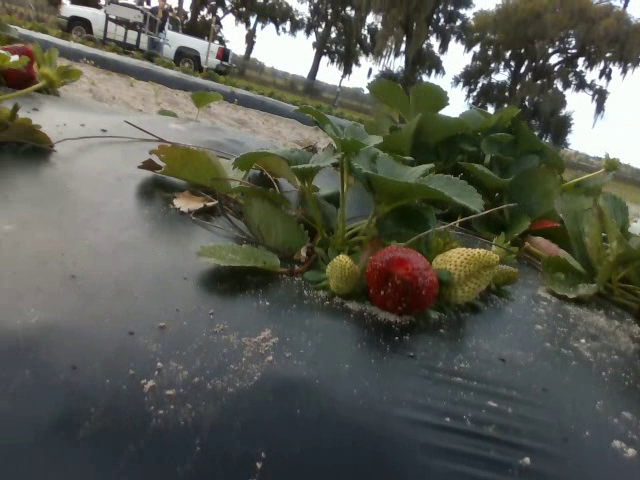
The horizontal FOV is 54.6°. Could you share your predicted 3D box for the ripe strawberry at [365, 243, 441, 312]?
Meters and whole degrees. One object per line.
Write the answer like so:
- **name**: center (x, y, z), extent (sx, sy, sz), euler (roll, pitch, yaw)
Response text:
- **ripe strawberry**: center (0.046, 0.022, 0.331), extent (0.047, 0.045, 0.059), euler (8, -12, 1)
